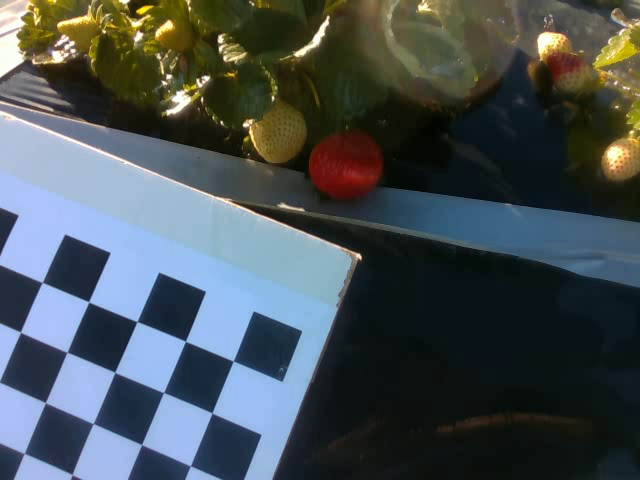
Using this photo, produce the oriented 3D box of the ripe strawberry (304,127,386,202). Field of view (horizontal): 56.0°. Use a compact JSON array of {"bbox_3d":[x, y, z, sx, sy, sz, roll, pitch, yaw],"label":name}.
[{"bbox_3d":[0.016,-0.041,0.327,0.049,0.045,0.064,45,1,-22],"label":"ripe strawberry"}]
